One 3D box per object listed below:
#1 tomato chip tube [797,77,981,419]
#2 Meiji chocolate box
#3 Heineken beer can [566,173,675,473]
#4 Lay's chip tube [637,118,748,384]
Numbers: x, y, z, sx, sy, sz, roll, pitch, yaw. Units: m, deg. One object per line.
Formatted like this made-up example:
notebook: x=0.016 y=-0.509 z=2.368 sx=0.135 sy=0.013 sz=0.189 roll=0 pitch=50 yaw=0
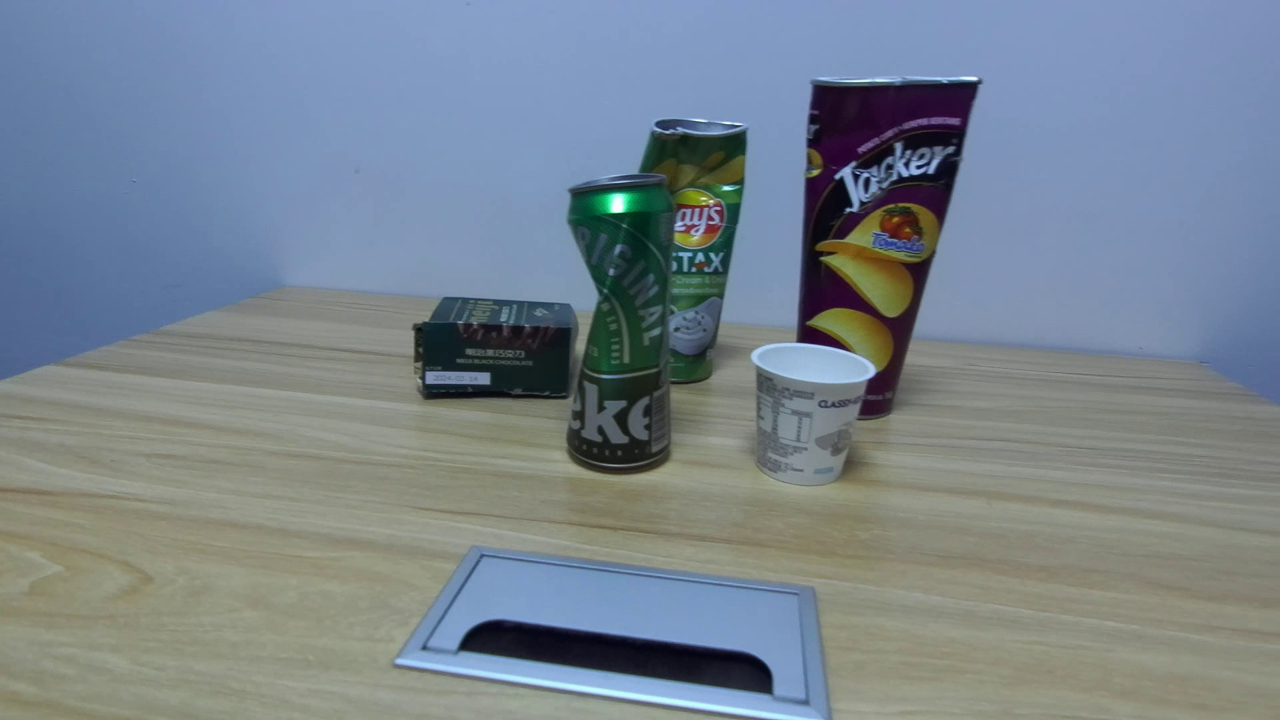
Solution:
tomato chip tube: x=0.160 y=-0.078 z=0.508 sx=0.078 sy=0.236 sz=0.090 roll=-2 pitch=22 yaw=-10
Meiji chocolate box: x=-0.109 y=-0.013 z=0.560 sx=0.123 sy=0.058 sz=0.115 roll=1 pitch=16 yaw=-7
Heineken beer can: x=-0.012 y=-0.019 z=0.417 sx=0.069 sy=0.168 sz=0.069 roll=-14 pitch=20 yaw=-40
Lay's chip tube: x=0.033 y=-0.084 z=0.558 sx=0.069 sy=0.201 sz=0.077 roll=14 pitch=25 yaw=30
